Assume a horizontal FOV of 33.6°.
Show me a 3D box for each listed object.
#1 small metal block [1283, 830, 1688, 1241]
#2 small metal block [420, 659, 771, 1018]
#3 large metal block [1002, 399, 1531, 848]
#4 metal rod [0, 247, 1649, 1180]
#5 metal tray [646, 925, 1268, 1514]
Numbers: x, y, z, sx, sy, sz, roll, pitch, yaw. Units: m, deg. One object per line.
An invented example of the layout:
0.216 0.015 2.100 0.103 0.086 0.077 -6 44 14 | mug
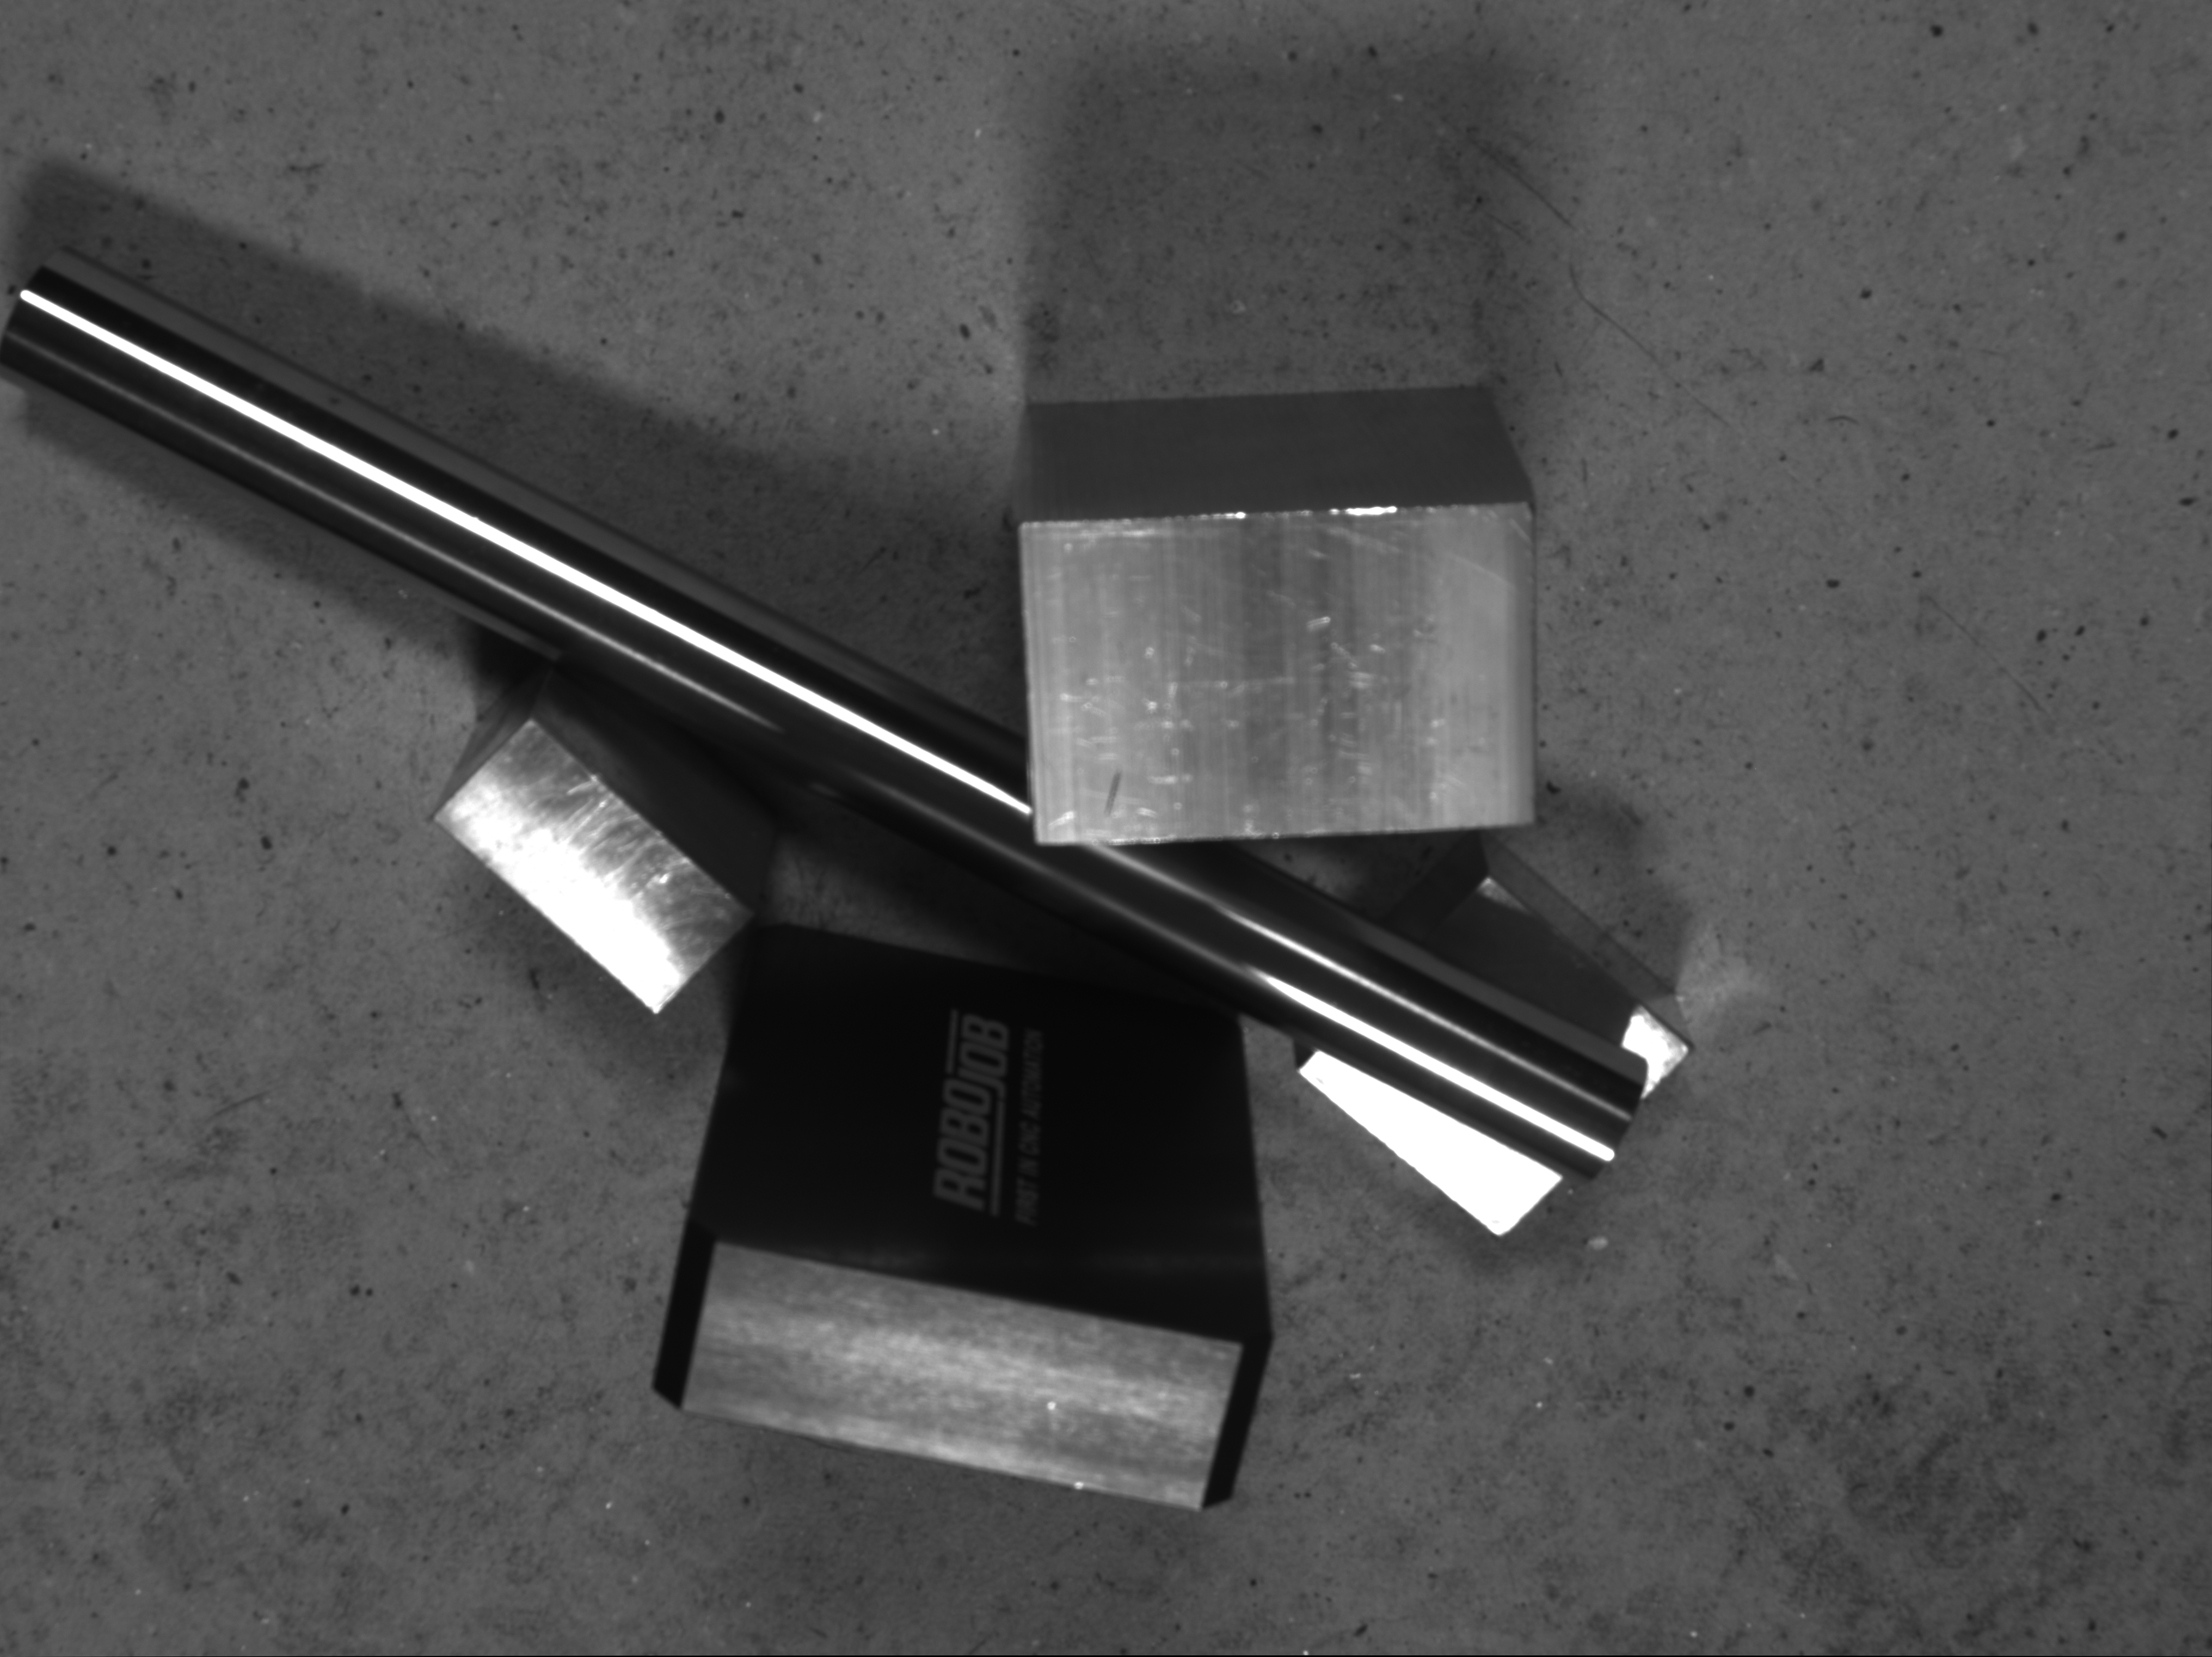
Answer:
0.067 0.037 0.658 0.050 0.025 0.050 40 105 -14 | small metal block
-0.086 -0.002 0.628 0.050 0.050 0.025 43 104 -14 | small metal block
0.025 -0.035 0.600 0.080 0.080 0.050 -2 110 0 | large metal block
-0.046 -0.018 0.622 0.300 0.025 0.025 27 108 -4 | metal rod
-0.023 0.061 0.609 0.090 0.130 0.030 12 109 -5 | metal tray
